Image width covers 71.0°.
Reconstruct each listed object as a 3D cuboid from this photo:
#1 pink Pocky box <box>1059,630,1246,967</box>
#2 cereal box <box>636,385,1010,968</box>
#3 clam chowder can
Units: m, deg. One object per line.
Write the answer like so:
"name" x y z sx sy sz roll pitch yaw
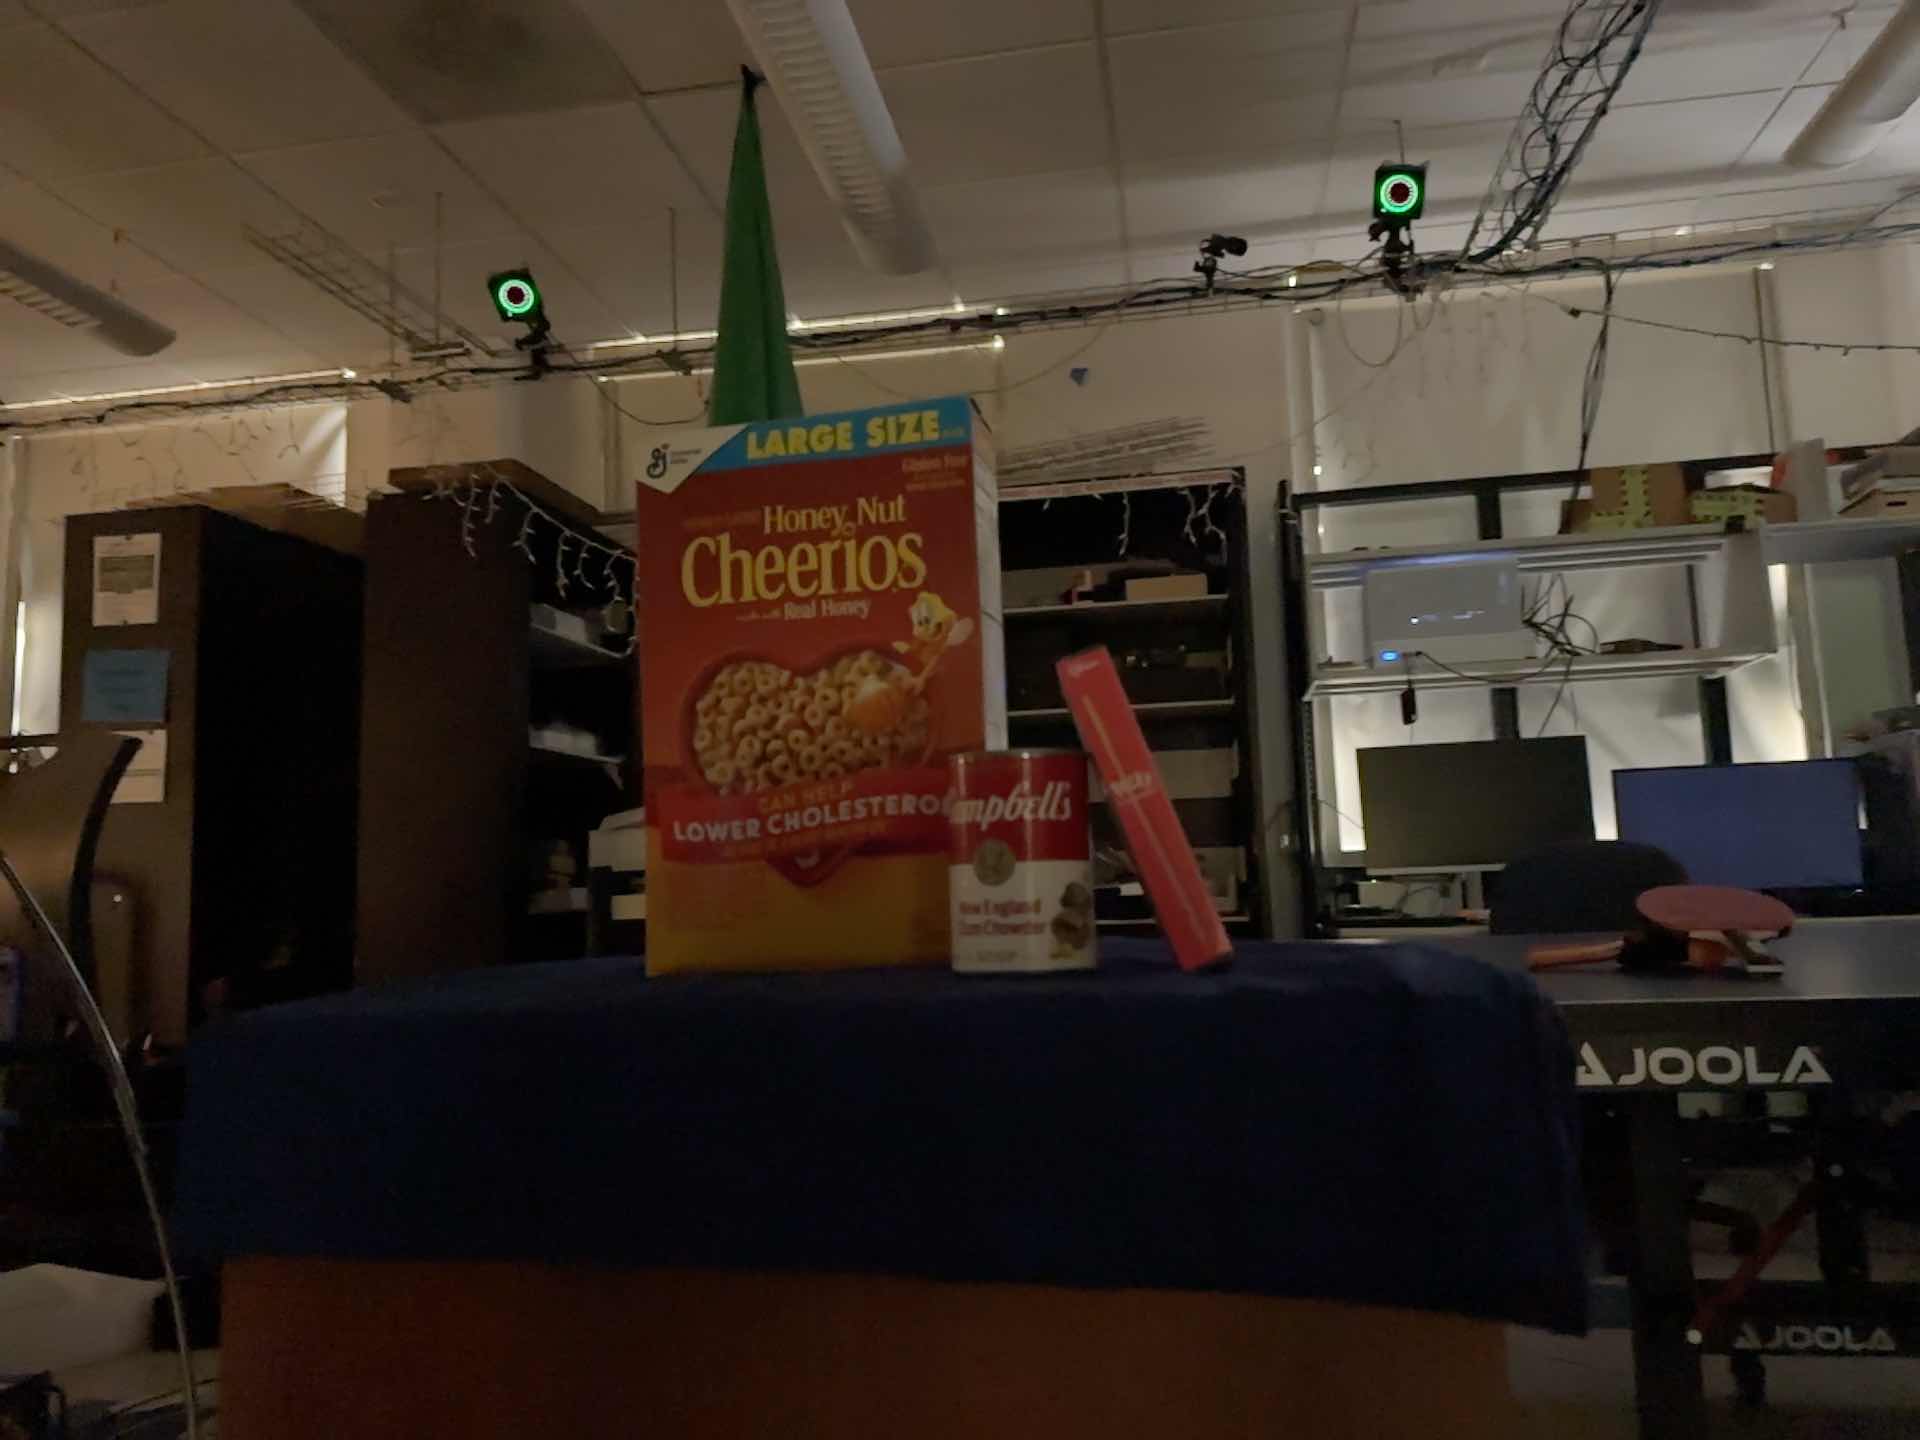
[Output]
"pink Pocky box" 0.089 0.038 0.637 0.029 0.155 0.084 -23 -10 2
"cereal box" -0.078 -0.019 0.753 0.195 0.297 0.065 -3 -6 17
"clam chowder can" 0.031 0.068 0.637 0.068 0.102 0.068 0 -5 0
